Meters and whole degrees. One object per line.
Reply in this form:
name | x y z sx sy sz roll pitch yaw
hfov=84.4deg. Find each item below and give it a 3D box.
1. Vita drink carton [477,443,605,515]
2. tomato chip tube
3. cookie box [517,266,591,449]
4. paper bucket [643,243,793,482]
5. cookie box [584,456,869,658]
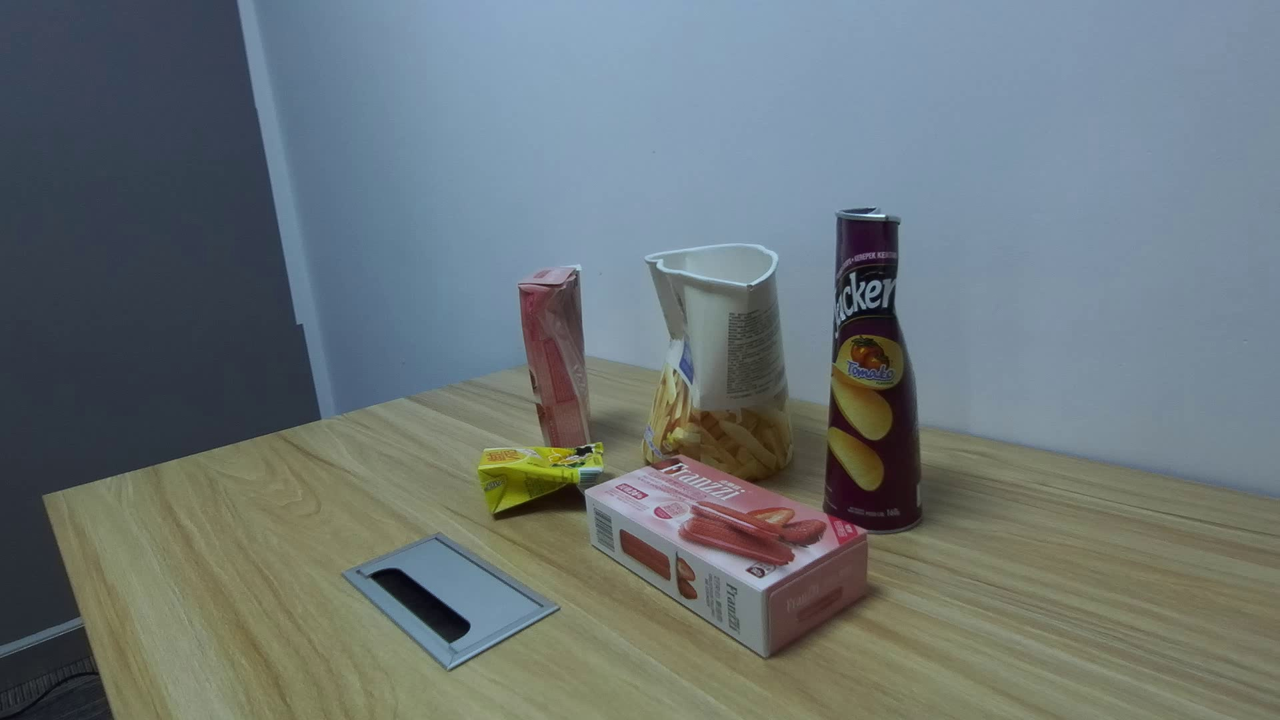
Vita drink carton | -0.083 0.102 0.621 0.108 0.042 0.087 -3 7 -7
tomato chip tube | 0.177 0.008 0.529 0.078 0.235 0.076 -12 16 -32
cookie box | -0.079 0.003 0.715 0.055 0.184 0.118 -3 15 2
paper bucket | 0.069 -0.001 0.659 0.148 0.199 0.217 -14 17 -35
cookie box | 0.052 0.123 0.488 0.096 0.048 0.183 -15 18 -35
